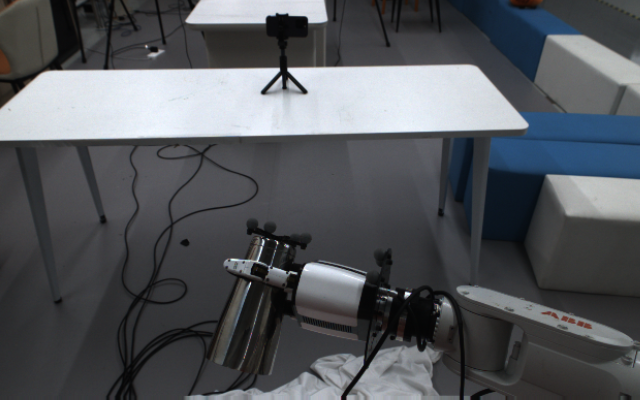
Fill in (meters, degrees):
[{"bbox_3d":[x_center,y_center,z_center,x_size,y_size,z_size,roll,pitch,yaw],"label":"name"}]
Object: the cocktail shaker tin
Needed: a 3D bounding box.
[{"bbox_3d":[-0.084,0.139,0.665,0.093,0.093,0.170,13,77,15],"label":"cocktail shaker tin"}]
